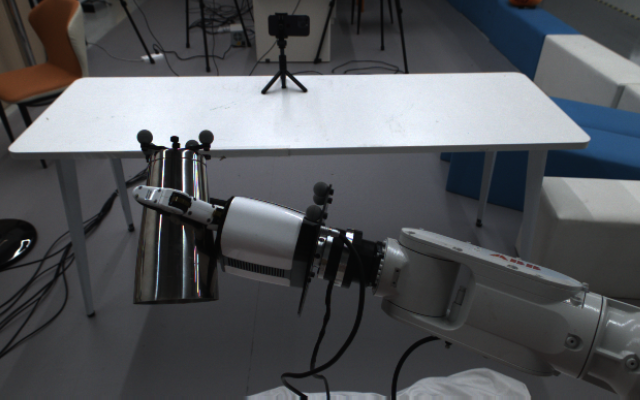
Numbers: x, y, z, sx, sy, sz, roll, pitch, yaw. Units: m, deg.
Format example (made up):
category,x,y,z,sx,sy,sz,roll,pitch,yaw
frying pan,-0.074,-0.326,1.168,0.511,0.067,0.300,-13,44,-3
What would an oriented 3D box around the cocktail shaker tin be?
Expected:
category,x,y,z,sx,sy,sz,roll,pitch,yaw
cocktail shaker tin,-0.165,0.033,0.560,0.093,0.093,0.170,-3,76,-7
